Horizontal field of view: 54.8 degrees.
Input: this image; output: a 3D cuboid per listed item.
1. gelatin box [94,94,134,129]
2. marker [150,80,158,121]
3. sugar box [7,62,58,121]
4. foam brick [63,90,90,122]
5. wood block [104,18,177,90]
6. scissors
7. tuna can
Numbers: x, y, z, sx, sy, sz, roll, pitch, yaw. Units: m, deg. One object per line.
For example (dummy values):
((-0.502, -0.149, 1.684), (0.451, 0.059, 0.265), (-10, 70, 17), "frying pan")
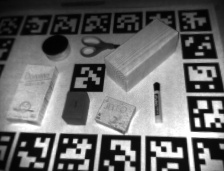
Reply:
((0.007, 0.072, 0.596), (0.088, 0.030, 0.073), (18, 67, 16), "gelatin box")
((0.118, 0.039, 0.604), (0.019, 0.020, 0.121), (2, 65, 9), "marker")
((-0.232, 0.014, 0.648), (0.092, 0.045, 0.176), (5, 64, 9), "sugar box")
((-0.097, 0.057, 0.600), (0.052, 0.052, 0.078), (2, 64, 9), "foam brick")
((0.087, -0.095, 0.643), (0.207, 0.091, 0.089), (-40, 64, -14), "wood block")
((-0.019, -0.136, 0.716), (0.201, 0.016, 0.087), (6, 64, 12), "scissors")
((-0.193, -0.135, 0.722), (0.085, 0.034, 0.085), (-3, 63, 6), "tuna can")
